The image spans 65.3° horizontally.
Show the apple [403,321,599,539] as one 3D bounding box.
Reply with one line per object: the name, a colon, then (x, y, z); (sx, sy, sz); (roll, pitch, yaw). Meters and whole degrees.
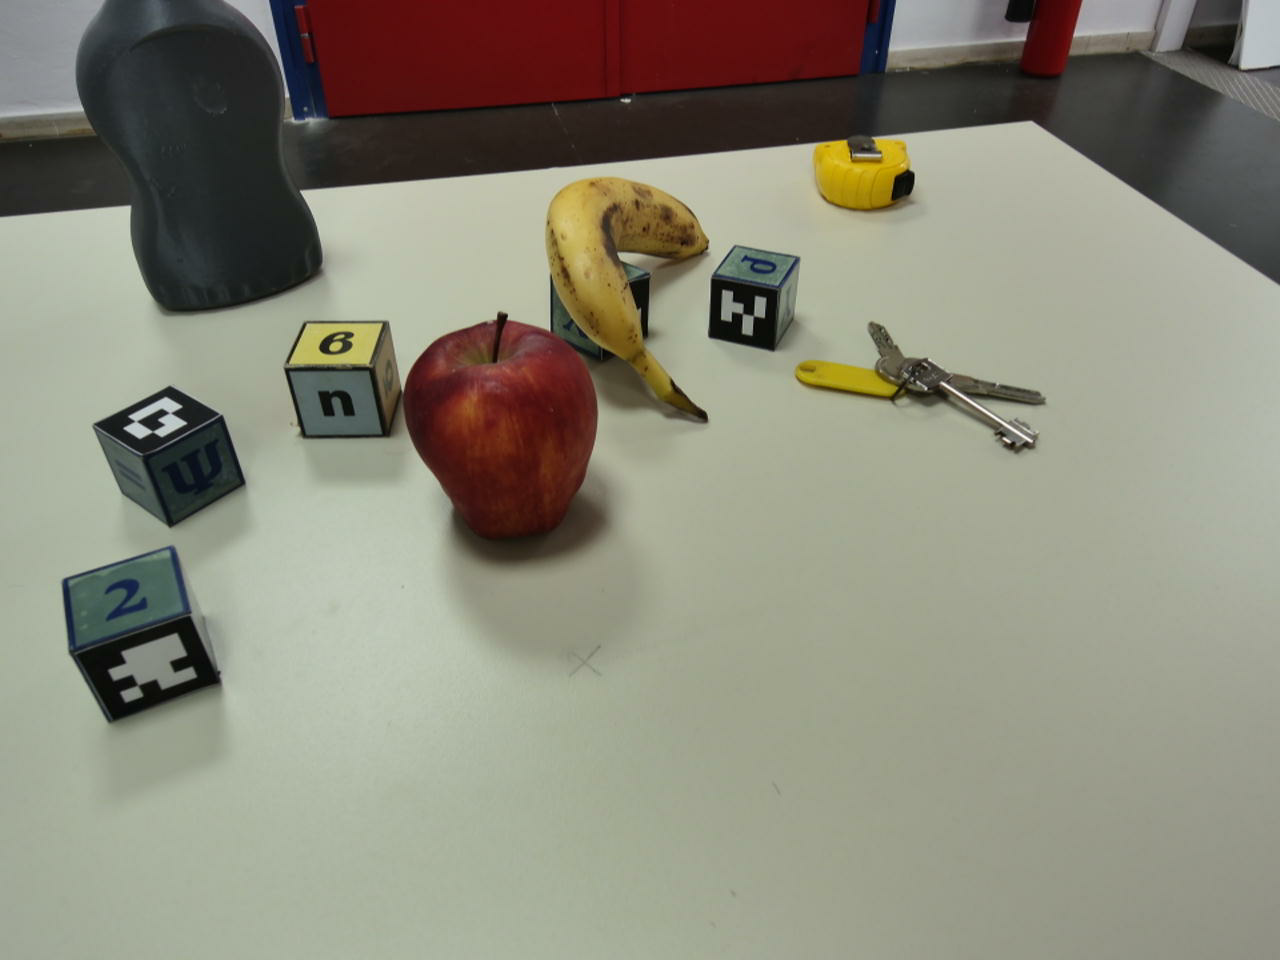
apple: (-0.056, -0.026, 0.406); (0.083, 0.090, 0.083); (0, 38, 0)
